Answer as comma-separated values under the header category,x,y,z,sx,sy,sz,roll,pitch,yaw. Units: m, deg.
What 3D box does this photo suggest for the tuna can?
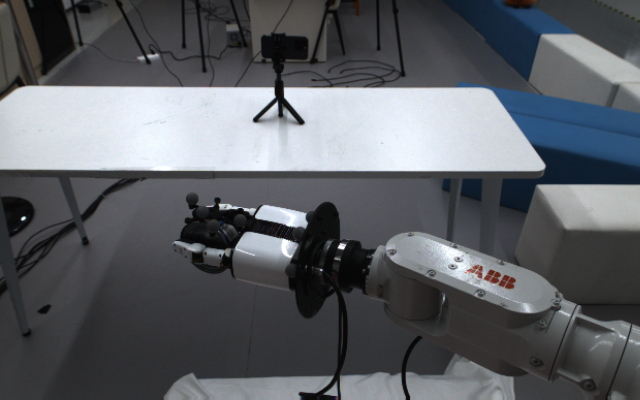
category,x,y,z,sx,sy,sz,roll,pitch,yaw
tuna can,-0.155,0.062,0.699,0.085,0.085,0.034,16,29,19
